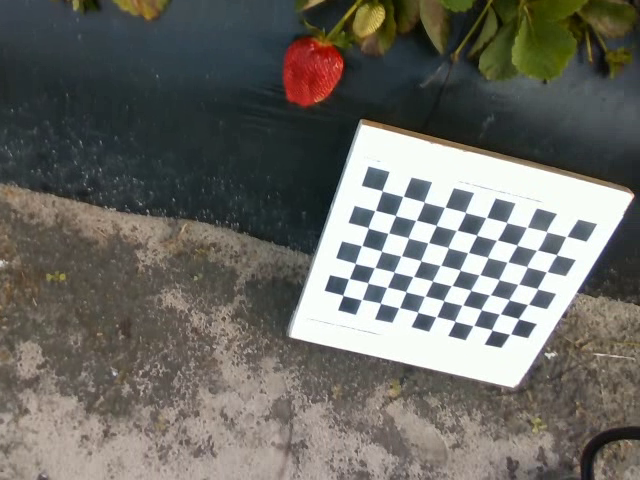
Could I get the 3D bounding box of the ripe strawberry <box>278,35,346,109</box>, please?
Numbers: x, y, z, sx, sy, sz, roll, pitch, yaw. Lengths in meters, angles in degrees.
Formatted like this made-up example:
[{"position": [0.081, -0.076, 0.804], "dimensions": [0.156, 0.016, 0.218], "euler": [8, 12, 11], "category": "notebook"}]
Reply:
[{"position": [-0.013, -0.167, 0.616], "dimensions": [0.067, 0.075, 0.039], "euler": [19, 27, -7], "category": "ripe strawberry"}]
